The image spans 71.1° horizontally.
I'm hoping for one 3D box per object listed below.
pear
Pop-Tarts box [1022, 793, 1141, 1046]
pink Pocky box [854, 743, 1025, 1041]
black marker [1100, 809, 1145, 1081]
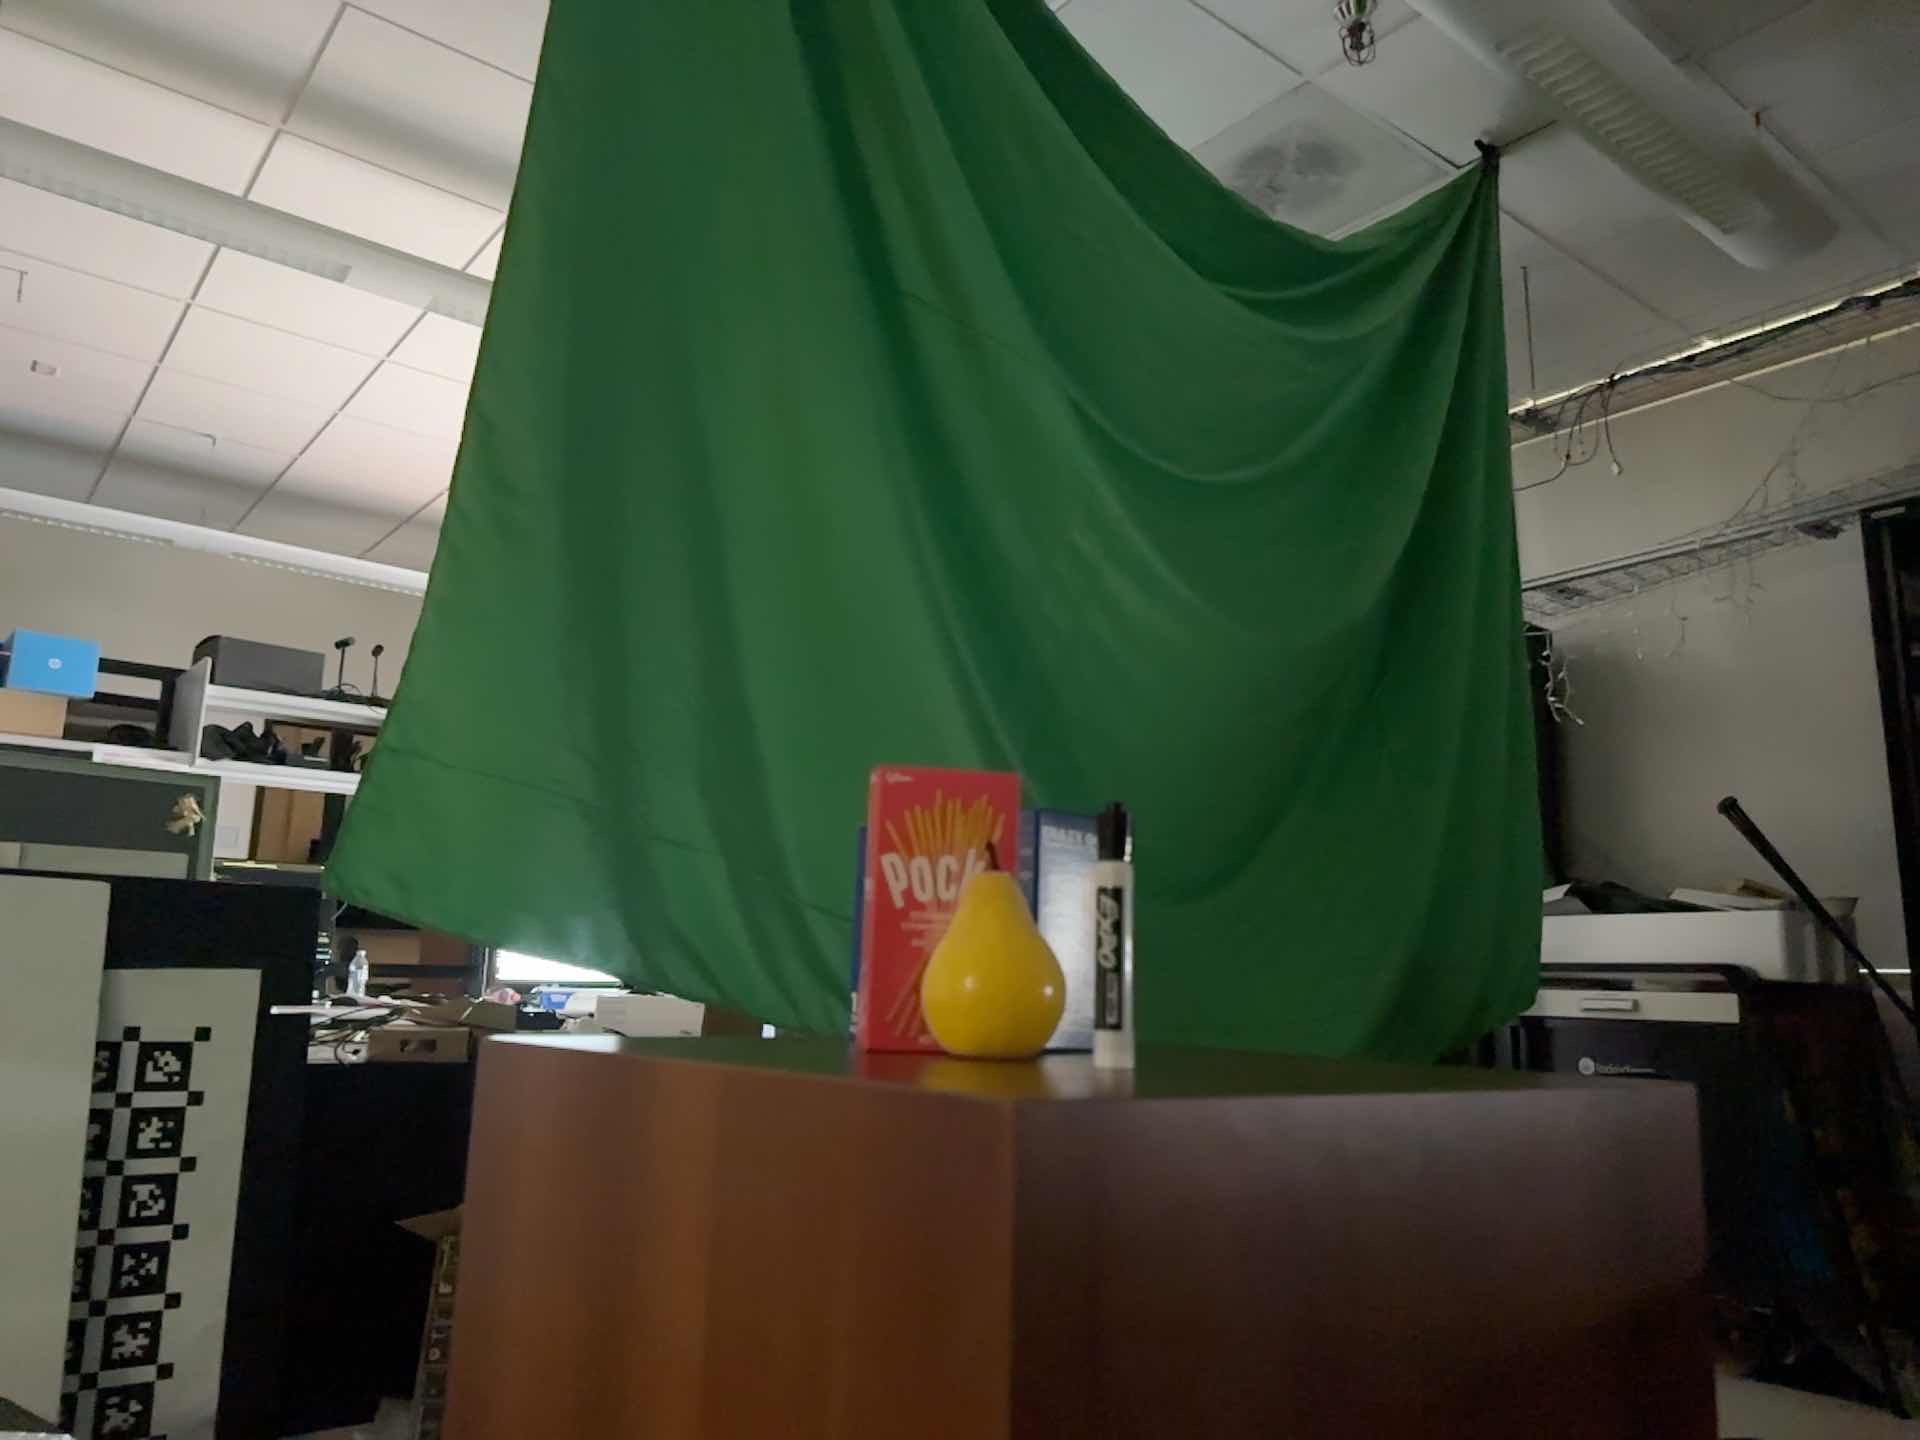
[{"bbox_3d":[0.019,0.108,0.668,0.080,0.111,0.080,3,-9,0],"label":"pear"},{"bbox_3d":[0.020,0.121,0.825,0.075,0.135,0.161,11,-12,-40],"label":"Pop-Tarts box"},{"bbox_3d":[-0.010,0.091,0.717,0.084,0.155,0.029,4,-7,-16],"label":"pink Pocky box"},{"bbox_3d":[0.074,0.101,0.611,0.020,0.121,0.020,2,-8,0],"label":"black marker"}]
